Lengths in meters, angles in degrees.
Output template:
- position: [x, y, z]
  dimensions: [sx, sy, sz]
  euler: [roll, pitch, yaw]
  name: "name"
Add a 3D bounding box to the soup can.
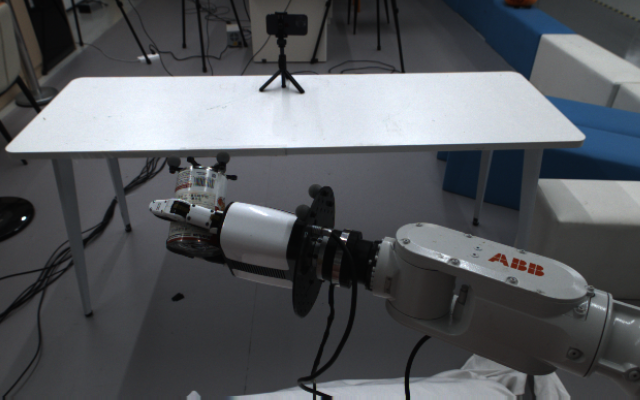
- position: [-0.154, 0.016, 0.618]
  dimensions: [0.067, 0.067, 0.101]
  euler: [1, 68, -1]
  name: "soup can"
